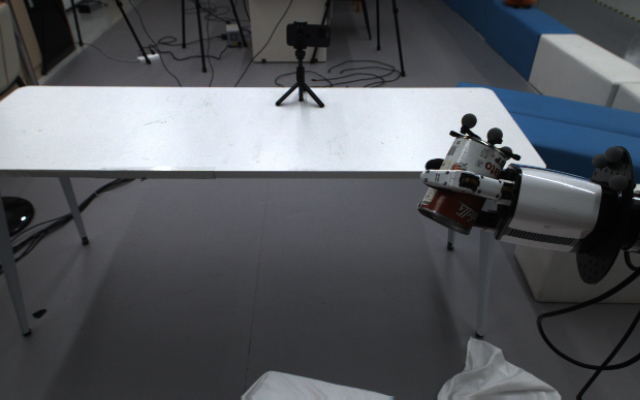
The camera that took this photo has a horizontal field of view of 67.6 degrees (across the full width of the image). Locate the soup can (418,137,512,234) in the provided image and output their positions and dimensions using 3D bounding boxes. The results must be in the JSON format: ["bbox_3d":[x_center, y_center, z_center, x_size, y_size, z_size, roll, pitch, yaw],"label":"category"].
[{"bbox_3d":[0.173,-0.019,0.584,0.067,0.101,0.067,29,-2,1],"label":"soup can"}]
